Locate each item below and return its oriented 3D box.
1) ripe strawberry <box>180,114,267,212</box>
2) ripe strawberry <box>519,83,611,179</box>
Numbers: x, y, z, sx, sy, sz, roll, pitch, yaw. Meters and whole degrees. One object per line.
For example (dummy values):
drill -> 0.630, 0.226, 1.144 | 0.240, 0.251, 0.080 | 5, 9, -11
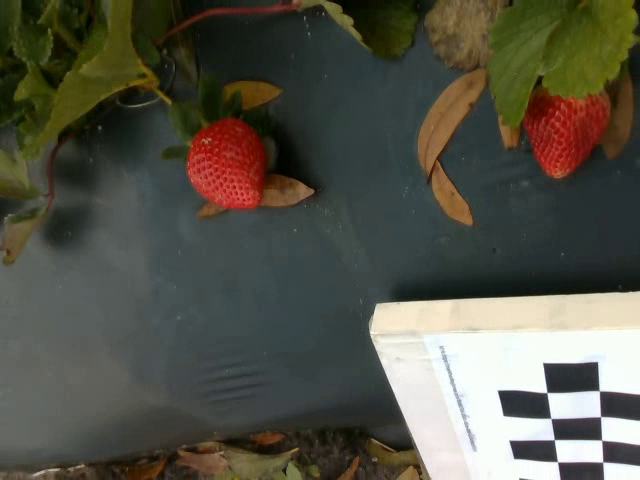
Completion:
ripe strawberry -> -0.042, -0.032, 0.301 | 0.042, 0.047, 0.065 | -28, 43, -10
ripe strawberry -> 0.102, -0.041, 0.248 | 0.040, 0.042, 0.037 | 2, -5, 14
